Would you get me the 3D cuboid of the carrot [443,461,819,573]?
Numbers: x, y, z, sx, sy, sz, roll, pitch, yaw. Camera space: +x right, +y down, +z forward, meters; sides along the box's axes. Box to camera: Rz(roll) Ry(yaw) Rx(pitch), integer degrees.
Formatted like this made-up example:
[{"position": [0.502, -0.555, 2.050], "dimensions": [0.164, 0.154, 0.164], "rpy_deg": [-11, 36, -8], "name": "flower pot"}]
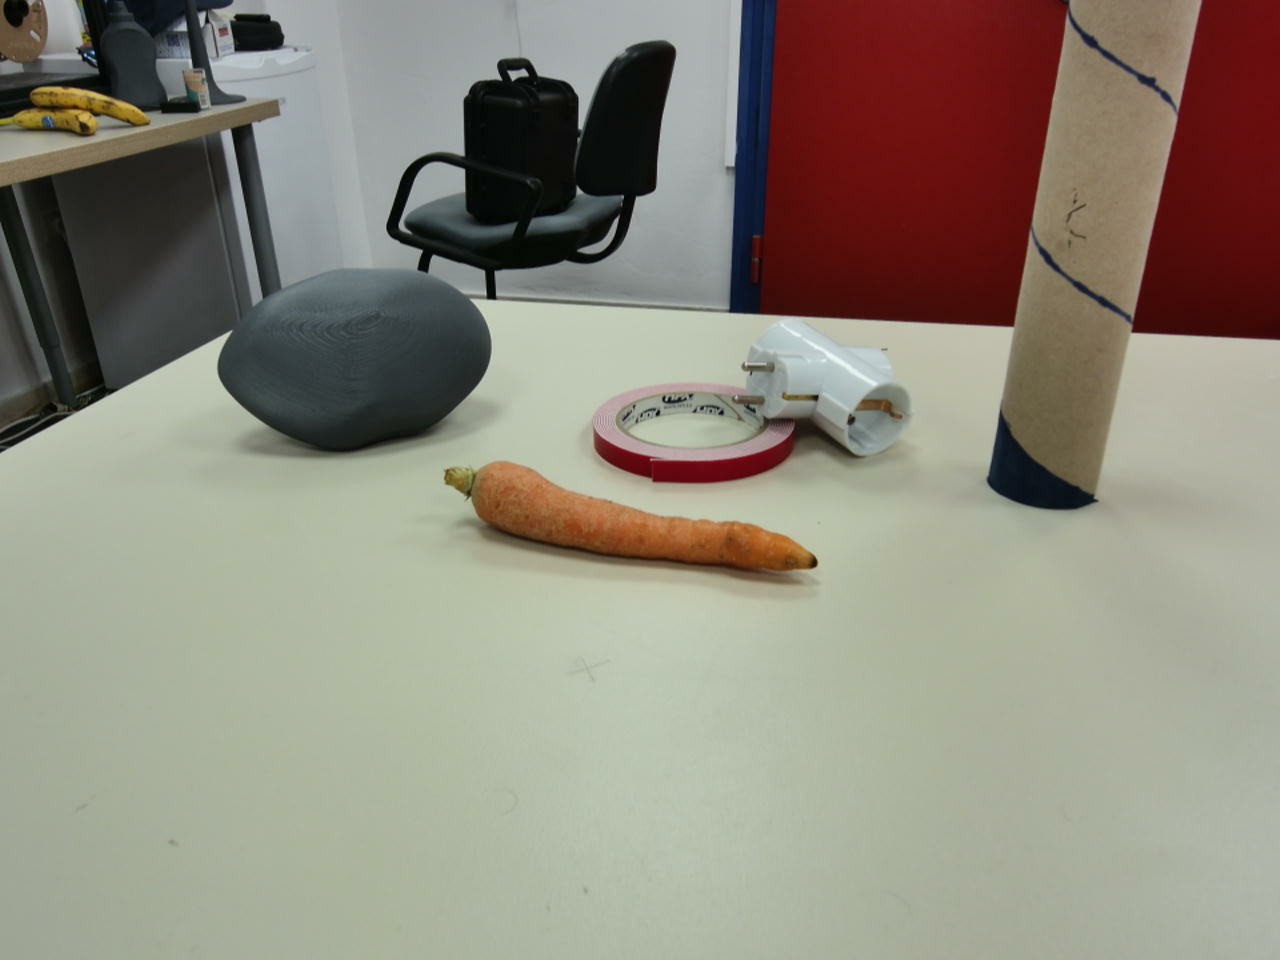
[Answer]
[{"position": [-0.007, 0.017, 0.429], "dimensions": [0.173, 0.032, 0.030], "rpy_deg": [10, 26, 21], "name": "carrot"}]
